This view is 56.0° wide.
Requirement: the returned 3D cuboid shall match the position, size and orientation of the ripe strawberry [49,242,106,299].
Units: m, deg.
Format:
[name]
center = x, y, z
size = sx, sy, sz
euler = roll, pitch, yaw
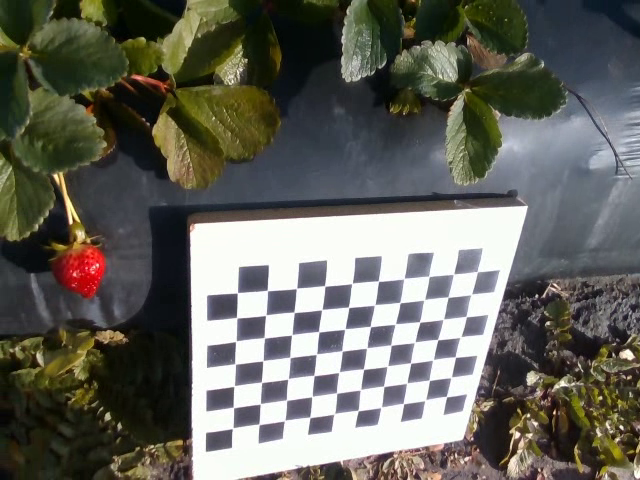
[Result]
[ripe strawberry]
center = -0.164, 0.023, 0.412
size = 0.040, 0.044, 0.036
euler = -20, 19, -6
